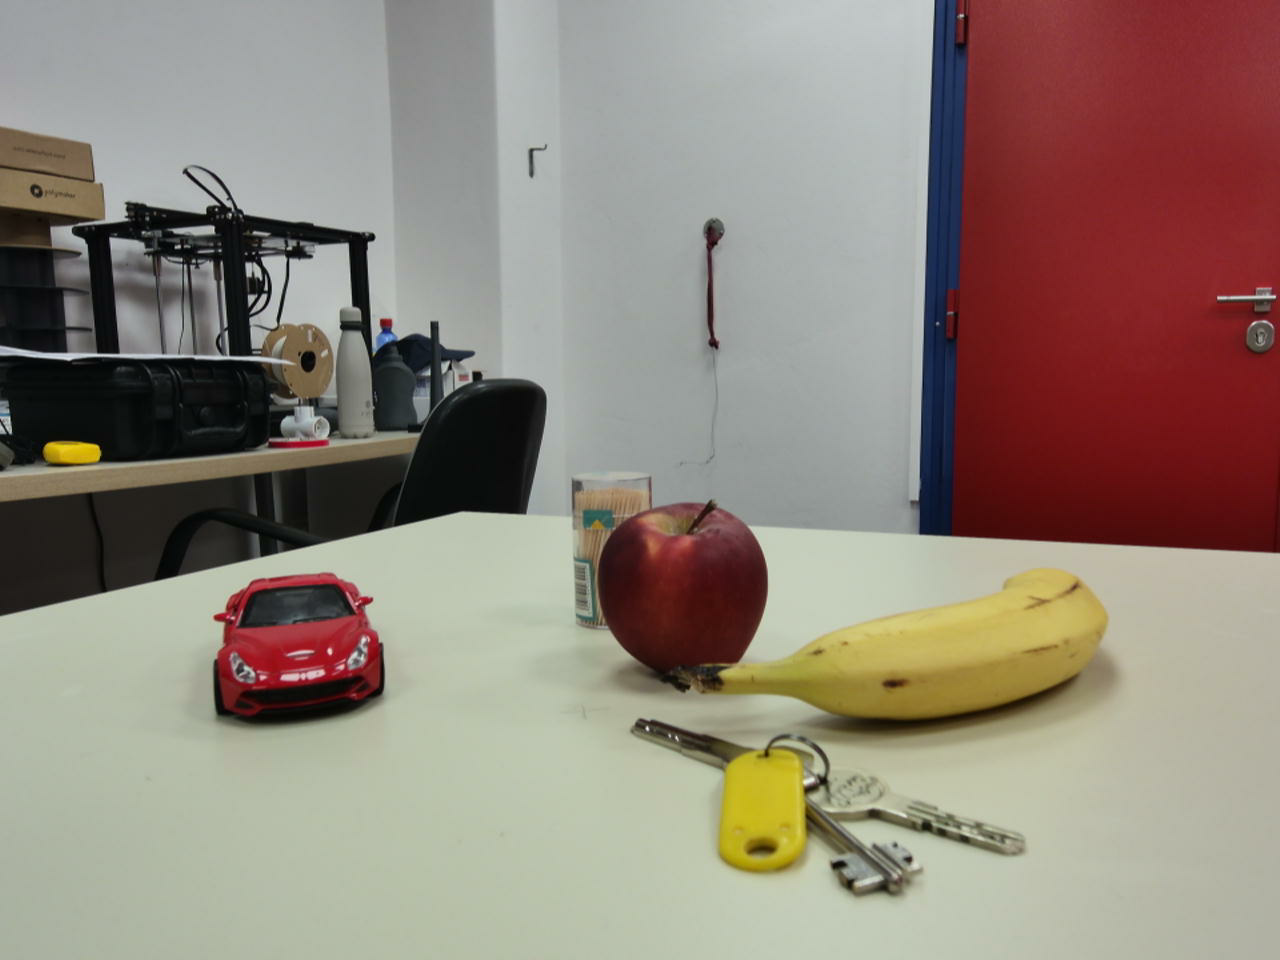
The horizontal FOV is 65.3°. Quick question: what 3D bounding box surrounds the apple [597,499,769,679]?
[{"bbox_3d":[0.018,0.044,0.409,0.070,0.072,0.070,-1,3,0],"label":"apple"}]
